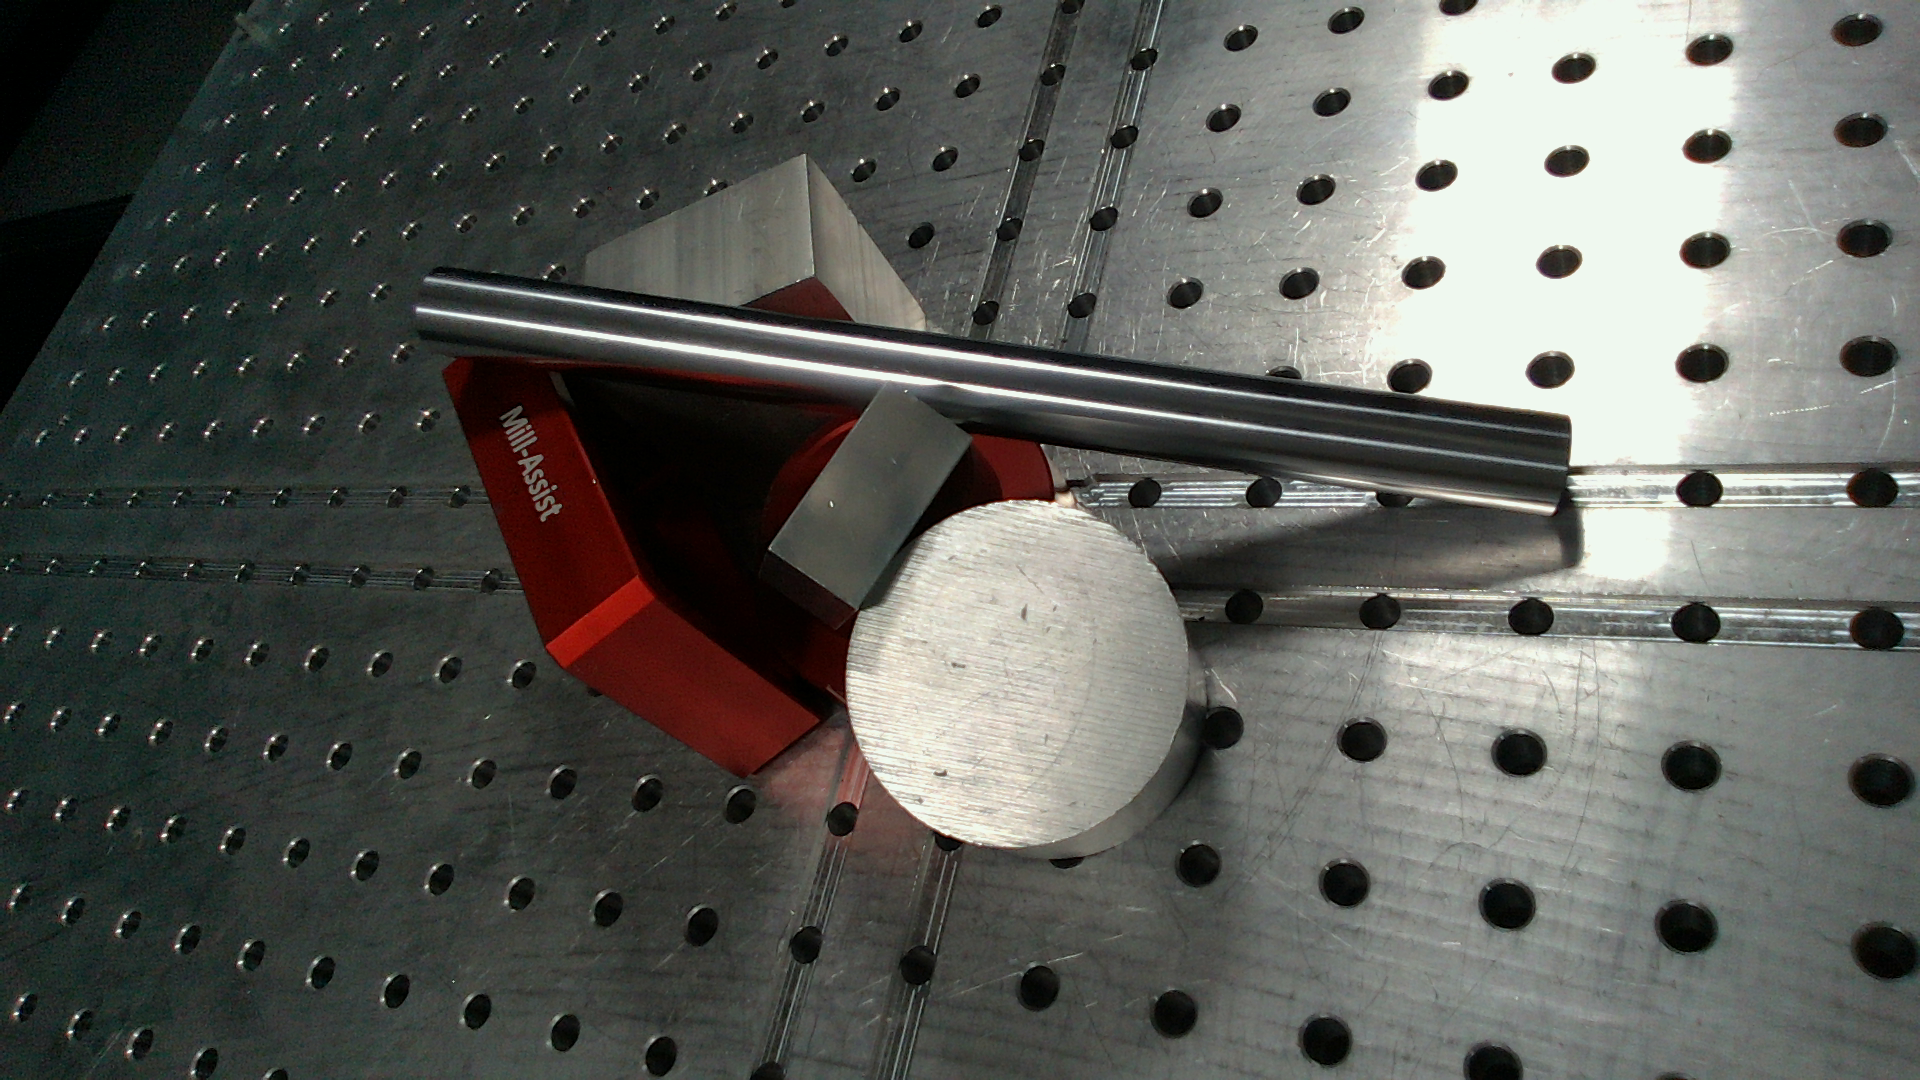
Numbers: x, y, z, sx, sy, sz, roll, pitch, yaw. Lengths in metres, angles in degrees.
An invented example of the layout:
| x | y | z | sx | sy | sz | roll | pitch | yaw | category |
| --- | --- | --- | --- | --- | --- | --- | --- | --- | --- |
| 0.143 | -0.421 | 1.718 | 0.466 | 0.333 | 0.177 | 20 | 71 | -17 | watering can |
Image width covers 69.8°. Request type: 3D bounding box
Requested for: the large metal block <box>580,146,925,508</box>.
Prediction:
| x | y | z | sx | sy | sz | roll | pitch | yaw | category |
| --- | --- | --- | --- | --- | --- | --- | --- | --- | --- |
| -0.062 | -0.063 | 0.432 | 0.080 | 0.080 | 0.050 | -20 | 54 | 17 | large metal block |

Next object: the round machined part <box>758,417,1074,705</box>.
| x | y | z | sx | sy | sz | roll | pitch | yaw | category |
| --- | --- | --- | --- | --- | --- | --- | --- | --- | --- |
| -0.017 | 0.000 | 0.399 | 0.098 | 0.042 | 0.098 | -13 | 56 | 21 | round machined part |

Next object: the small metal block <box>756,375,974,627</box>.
| x | y | z | sx | sy | sz | roll | pitch | yaw | category |
| --- | --- | --- | --- | --- | --- | --- | --- | --- | --- |
| -0.025 | -0.008 | 0.343 | 0.025 | 0.050 | 0.050 | 35 | 76 | -4 | small metal block |

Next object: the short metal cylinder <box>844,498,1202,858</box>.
| x | y | z | sx | sy | sz | roll | pitch | yaw | category |
| --- | --- | --- | --- | --- | --- | --- | --- | --- | --- |
| 0.018 | 0.035 | 0.334 | 0.080 | 0.050 | 0.080 | -3 | 74 | 12 | short metal cylinder |

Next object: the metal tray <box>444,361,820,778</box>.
| x | y | z | sx | sy | sz | roll | pitch | yaw | category |
| --- | --- | --- | --- | --- | --- | --- | --- | --- | --- |
| -0.098 | 0.000 | 0.407 | 0.030 | 0.090 | 0.130 | -37 | 51 | 4 | metal tray |

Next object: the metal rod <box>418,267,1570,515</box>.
| x | y | z | sx | sy | sz | roll | pitch | yaw | category |
| --- | --- | --- | --- | --- | --- | --- | --- | --- | --- |
| -0.001 | -0.042 | 0.361 | 0.299 | 0.025 | 0.025 | 9 | 65 | 11 | metal rod |
